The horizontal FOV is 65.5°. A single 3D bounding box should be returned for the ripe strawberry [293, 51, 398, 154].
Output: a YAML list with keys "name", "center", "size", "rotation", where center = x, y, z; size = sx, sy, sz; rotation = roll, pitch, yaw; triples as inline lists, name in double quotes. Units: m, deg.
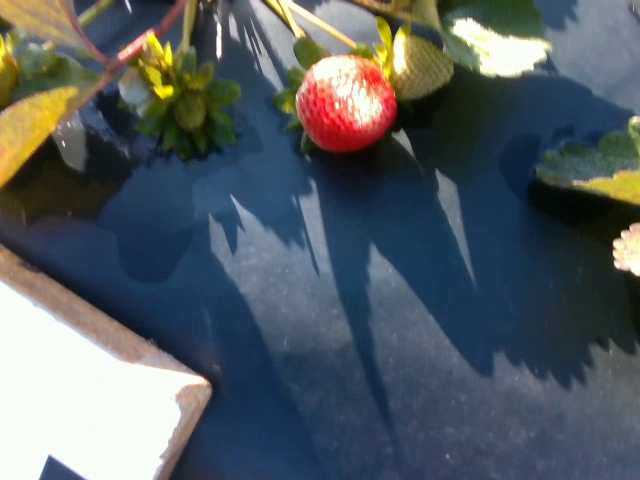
- name: "ripe strawberry"
  center: [0.012, -0.039, 0.152]
  size: [0.042, 0.037, 0.045]
  rotation: [5, 17, -17]
